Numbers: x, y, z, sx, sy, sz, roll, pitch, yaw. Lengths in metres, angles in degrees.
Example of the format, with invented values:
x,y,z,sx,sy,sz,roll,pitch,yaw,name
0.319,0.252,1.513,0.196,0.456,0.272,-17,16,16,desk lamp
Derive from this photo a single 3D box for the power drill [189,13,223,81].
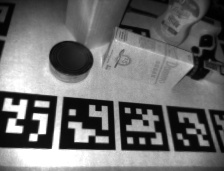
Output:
x,y,z,sx,sy,sz,roll,pitch,yaw,name
0.221,-0.116,0.567,0.185,0.057,0.187,19,67,-7,power drill

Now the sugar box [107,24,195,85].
x,y,z,sx,sy,sz,roll,pitch,yaw,name
0.086,-0.063,0.479,0.177,0.092,0.045,18,56,-10,sugar box

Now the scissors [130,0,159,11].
x,y,z,sx,sy,sz,roll,pitch,yaw,name
0.035,-0.229,0.589,0.204,0.016,0.087,9,58,-13,scissors

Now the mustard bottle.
x,y,z,sx,sy,sz,roll,pitch,yaw,name
0.189,-0.194,0.529,0.059,0.191,0.096,-34,78,-27,mustard bottle

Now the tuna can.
x,y,z,sx,sy,sz,roll,pitch,yaw,name
-0.080,-0.064,0.454,0.086,0.033,0.085,8,63,-14,tuna can

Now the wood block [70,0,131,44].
x,y,z,sx,sy,sz,roll,pitch,yaw,name
-0.022,-0.188,0.451,0.092,0.206,0.089,-21,72,-25,wood block
